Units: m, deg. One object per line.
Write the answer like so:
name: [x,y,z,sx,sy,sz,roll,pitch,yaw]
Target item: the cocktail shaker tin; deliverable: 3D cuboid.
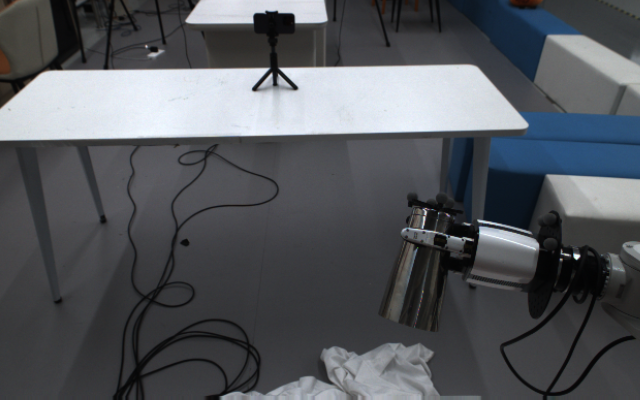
cocktail shaker tin: [0.155,0.098,0.734,0.093,0.170,0.093,14,-5,1]
